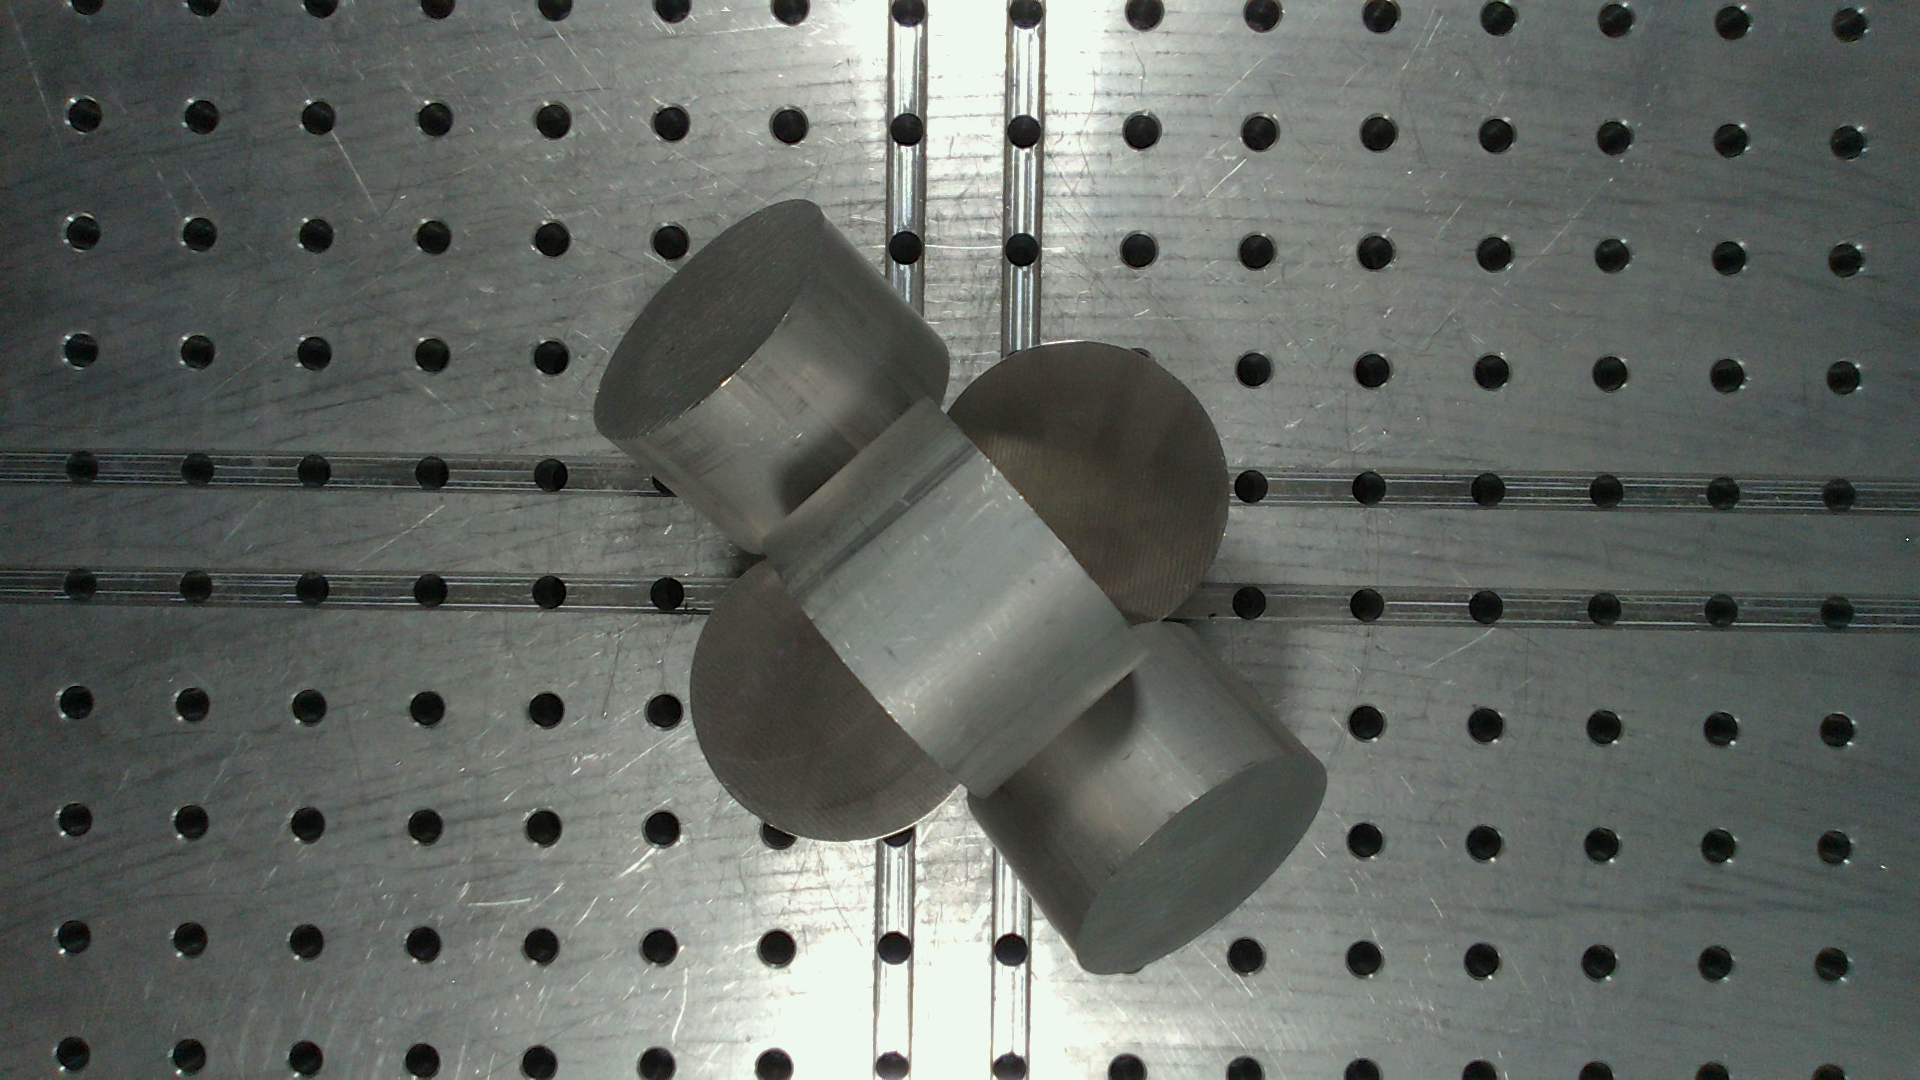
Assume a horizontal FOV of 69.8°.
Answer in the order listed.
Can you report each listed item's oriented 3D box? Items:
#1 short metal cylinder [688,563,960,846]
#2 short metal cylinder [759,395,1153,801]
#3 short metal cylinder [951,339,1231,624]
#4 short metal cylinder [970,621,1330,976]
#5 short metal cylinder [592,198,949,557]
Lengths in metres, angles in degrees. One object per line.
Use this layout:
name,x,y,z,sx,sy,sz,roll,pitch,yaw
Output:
short metal cylinder,-0.031,0.040,0.385,0.080,0.050,0.080,0,90,0
short metal cylinder,-0.001,0.013,0.319,0.050,0.080,0.080,-41,90,0
short metal cylinder,0.031,-0.013,0.385,0.080,0.050,0.080,0,90,0
short metal cylinder,0.050,0.068,0.363,0.080,0.080,0.050,-41,55,0
short metal cylinder,-0.050,-0.042,0.363,0.080,0.080,0.050,-46,124,0
